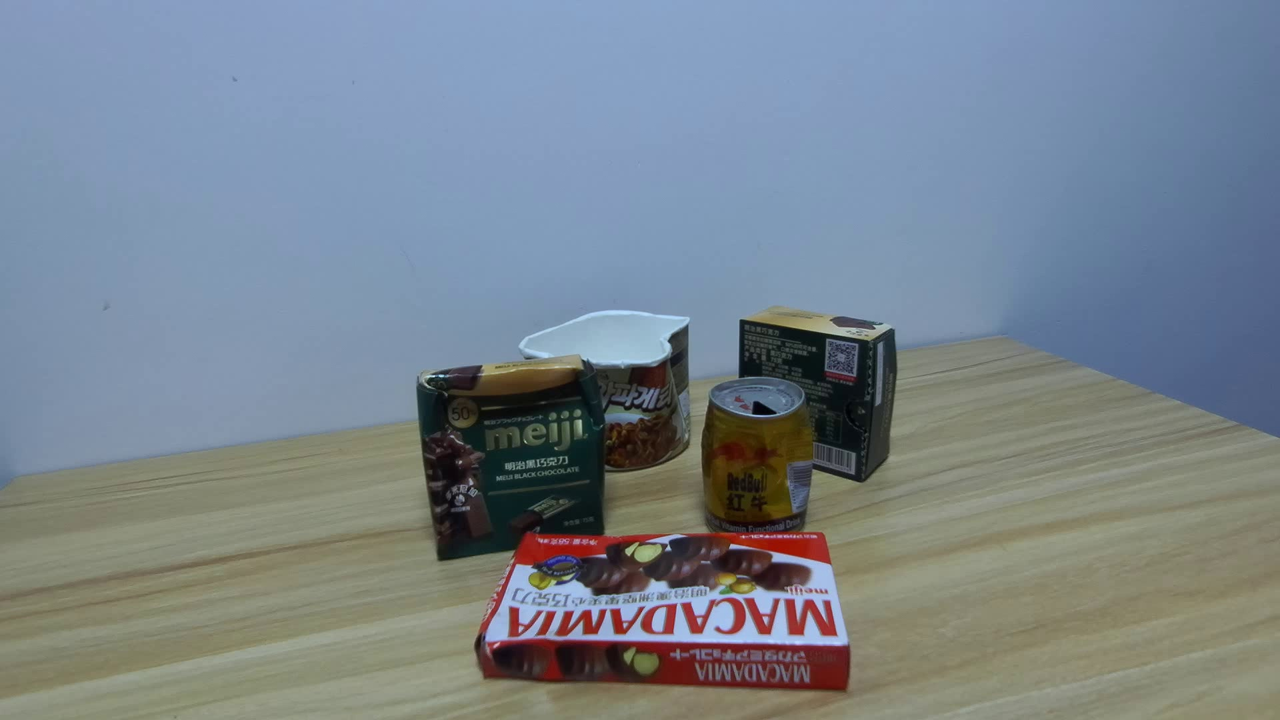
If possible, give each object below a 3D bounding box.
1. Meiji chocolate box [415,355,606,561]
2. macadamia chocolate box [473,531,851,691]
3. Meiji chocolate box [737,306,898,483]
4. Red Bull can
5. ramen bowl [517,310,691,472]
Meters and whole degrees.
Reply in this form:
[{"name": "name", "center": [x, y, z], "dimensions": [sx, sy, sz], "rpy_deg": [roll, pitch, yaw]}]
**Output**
[{"name": "Meiji chocolate box", "center": [-0.082, 0.059, 0.461], "dimensions": [0.117, 0.117, 0.051], "rpy_deg": [-6, 11, -9]}, {"name": "macadamia chocolate box", "center": [0.013, 0.127, 0.376], "dimensions": [0.183, 0.028, 0.106], "rpy_deg": [-1, 18, 7]}, {"name": "Meiji chocolate box", "center": [0.134, 0.021, 0.535], "dimensions": [0.112, 0.111, 0.058], "rpy_deg": [12, 23, 38]}, {"name": "Red Bull can", "center": [0.073, 0.063, 0.448], "dimensions": [0.072, 0.092, 0.072], "rpy_deg": [-2, 21, 1]}, {"name": "ramen bowl", "center": [-0.027, 0.022, 0.574], "dimensions": [0.133, 0.097, 0.113], "rpy_deg": [1, 21, 8]}]
